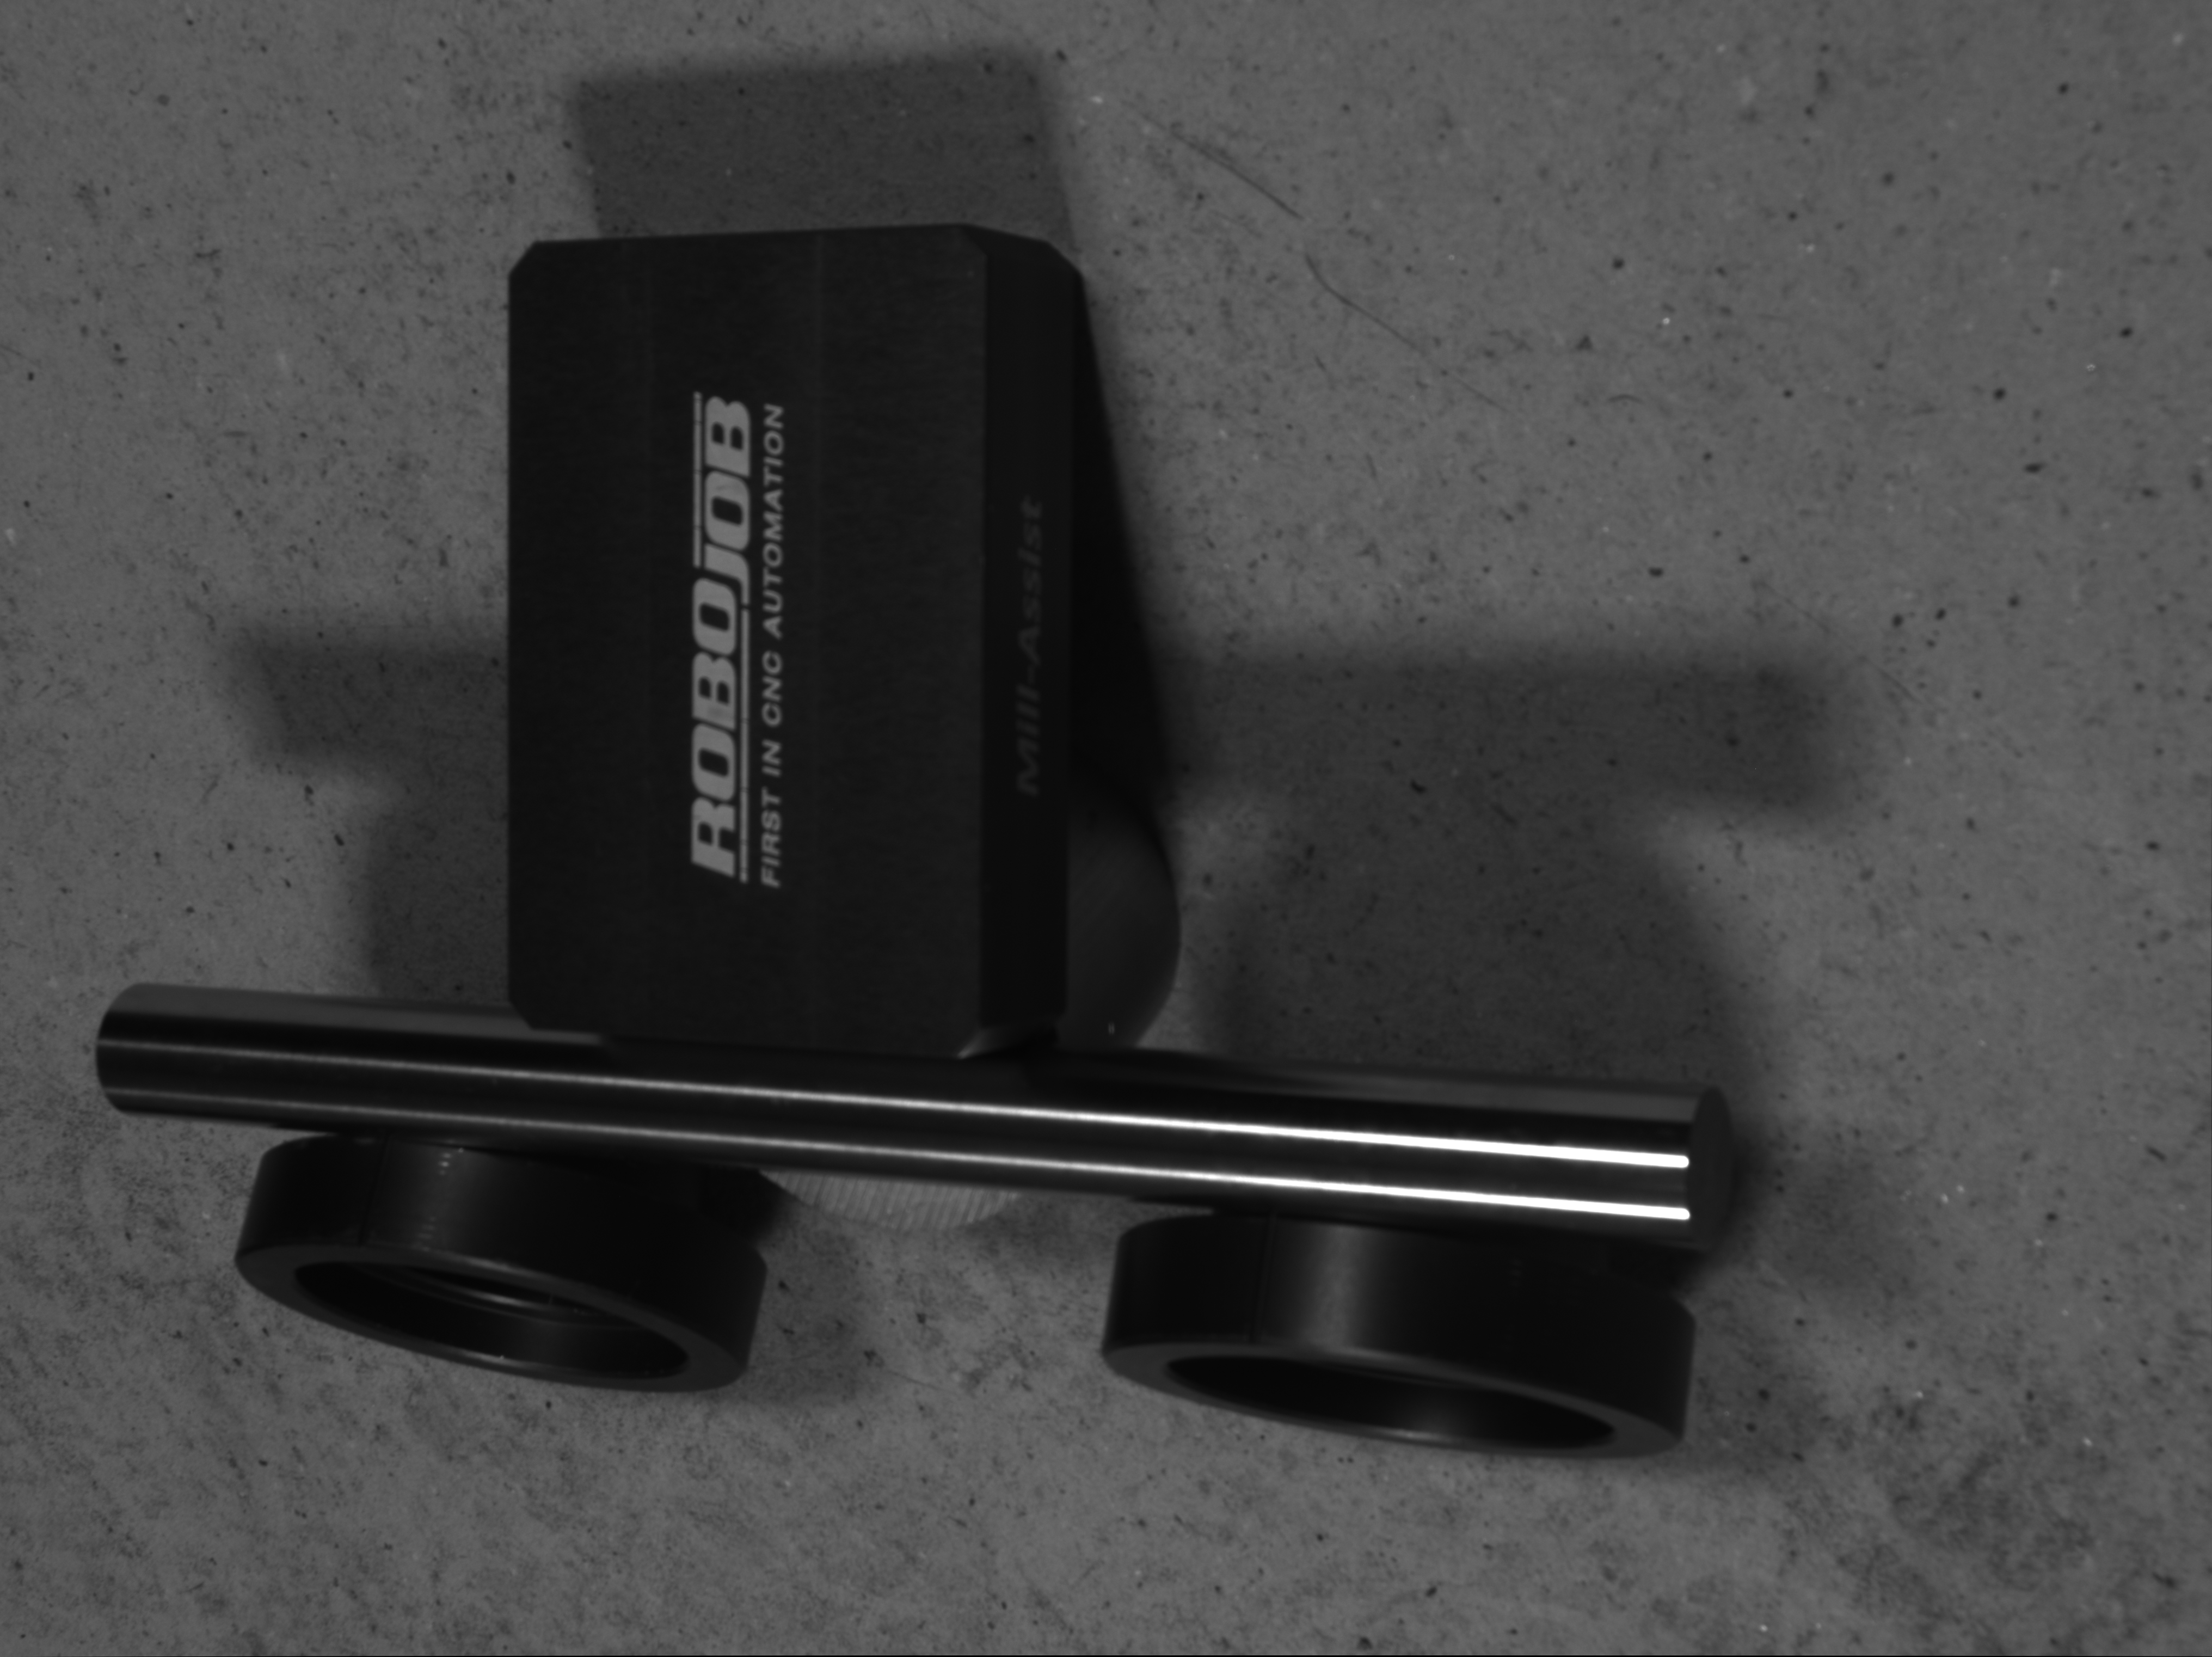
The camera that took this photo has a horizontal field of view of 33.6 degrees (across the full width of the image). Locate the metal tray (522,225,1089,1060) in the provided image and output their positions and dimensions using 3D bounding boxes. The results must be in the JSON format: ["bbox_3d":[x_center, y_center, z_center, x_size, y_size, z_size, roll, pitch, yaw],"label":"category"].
[{"bbox_3d":[-0.050,-0.030,0.600,0.090,0.030,0.130,2,93,26],"label":"metal tray"}]

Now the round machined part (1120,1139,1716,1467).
[{"bbox_3d":[0.054,0.077,0.618,0.098,0.042,0.098,9,163,3],"label":"round machined part"}]

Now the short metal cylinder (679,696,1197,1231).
[{"bbox_3d":[-0.030,0.023,0.645,0.080,0.050,0.080,12,123,20],"label":"short metal cylinder"}]

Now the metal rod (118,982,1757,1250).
[{"bbox_3d":[-0.040,0.046,0.616,0.299,0.025,0.025,2,119,26],"label":"metal rod"}]

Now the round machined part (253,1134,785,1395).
[{"bbox_3d":[-0.109,0.074,0.700,0.098,0.042,0.098,9,159,4],"label":"round machined part"}]
